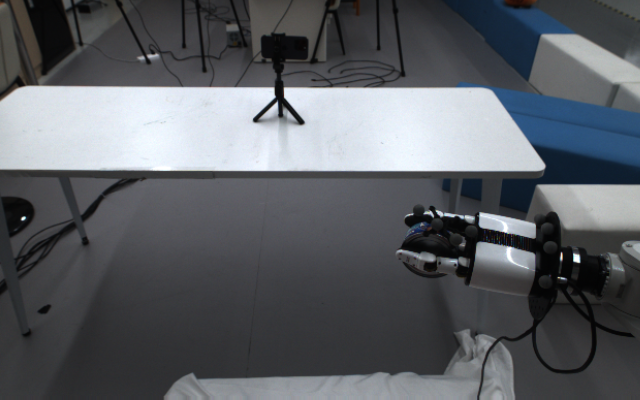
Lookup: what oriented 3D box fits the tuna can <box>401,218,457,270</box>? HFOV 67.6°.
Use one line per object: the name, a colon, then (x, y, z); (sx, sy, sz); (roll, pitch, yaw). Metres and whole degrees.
tuna can: (0.170, 0.073, 0.736); (0.085, 0.085, 0.034); (12, 33, 14)
